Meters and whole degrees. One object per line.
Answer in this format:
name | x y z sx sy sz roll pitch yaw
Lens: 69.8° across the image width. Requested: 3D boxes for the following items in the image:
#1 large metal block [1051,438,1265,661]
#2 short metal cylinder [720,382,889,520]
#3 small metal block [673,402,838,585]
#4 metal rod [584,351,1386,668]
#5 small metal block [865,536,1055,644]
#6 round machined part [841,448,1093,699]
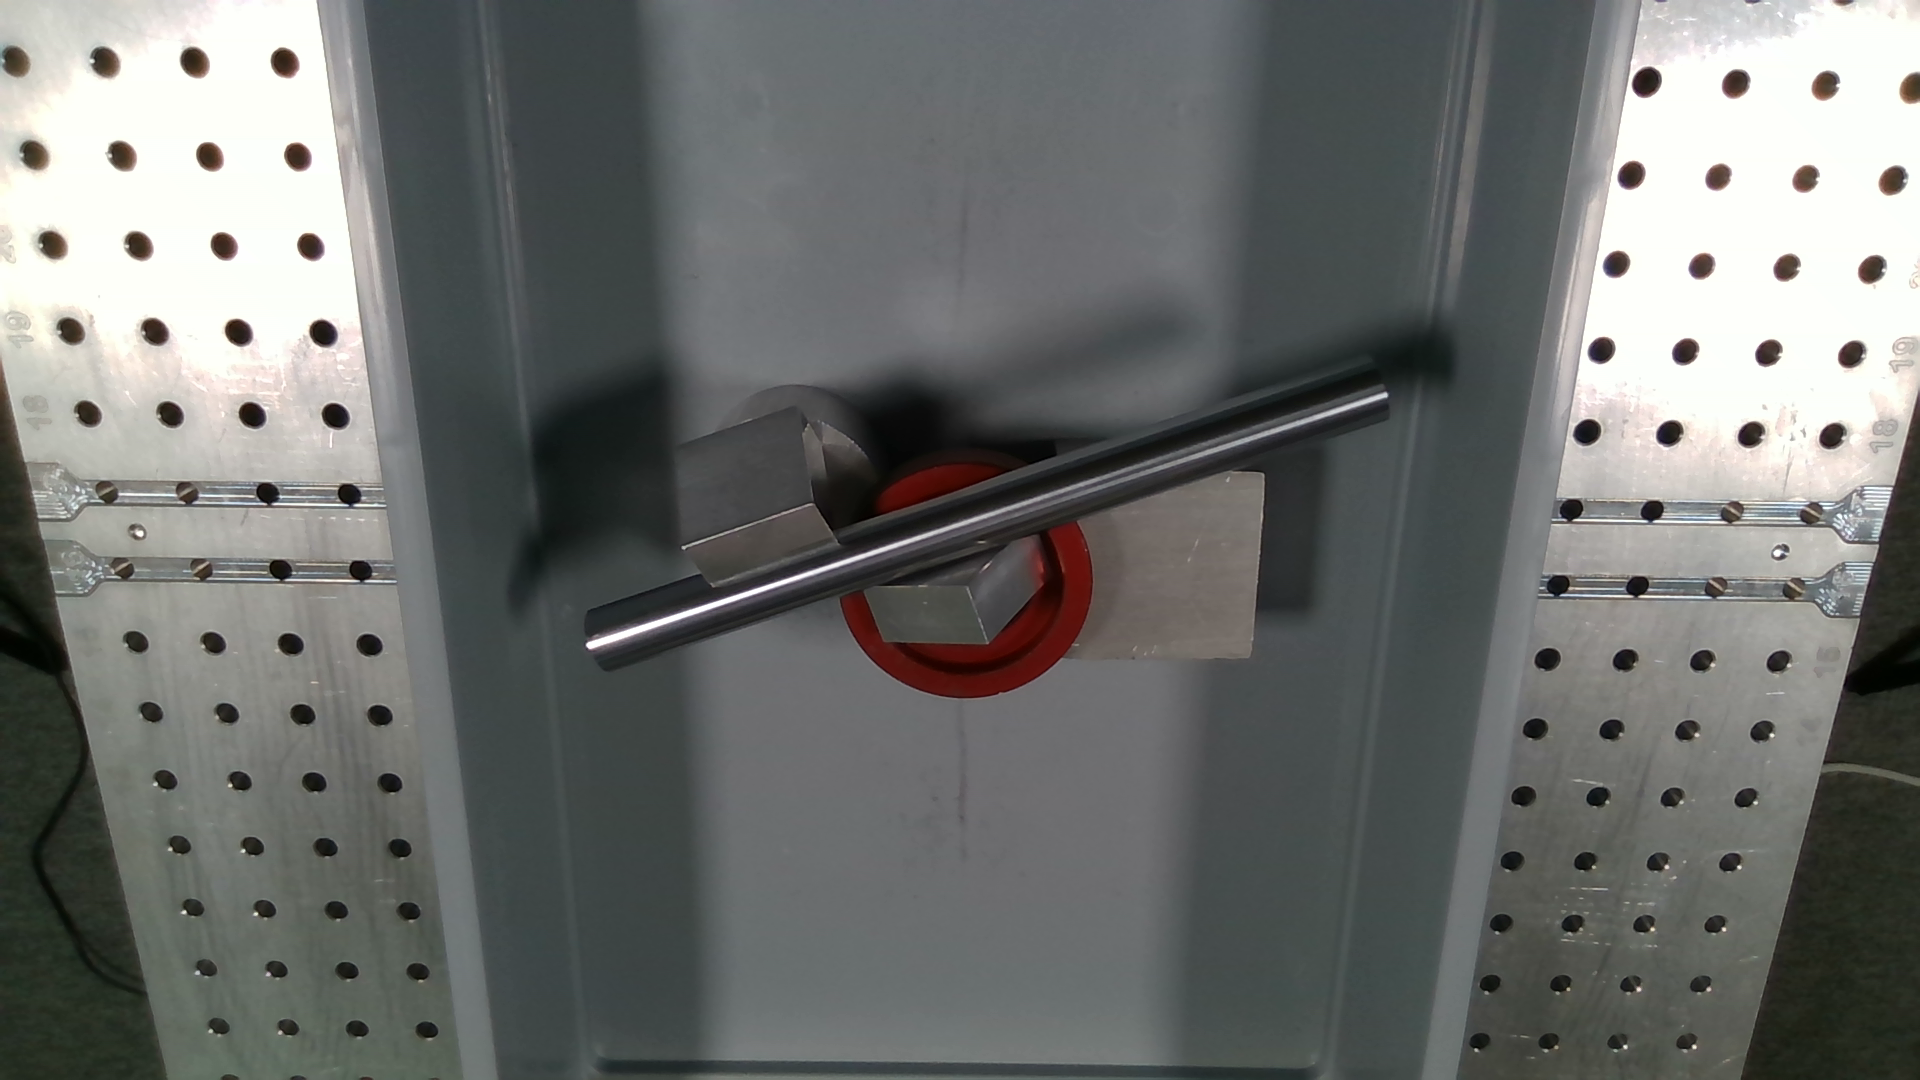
large metal block | 0.078 0.003 0.570 0.080 0.050 0.080 0 110 0
short metal cylinder | -0.069 -0.020 0.564 0.080 0.050 0.080 0 110 0
small metal block | -0.076 -0.017 0.508 0.050 0.050 0.025 -18 142 6
metal rod | 0.005 -0.009 0.506 0.300 0.025 0.025 -18 109 7
small metal block | 0.000 0.015 0.524 0.050 0.050 0.025 -2 119 38
round machined part | 0.002 0.010 0.547 0.098 0.042 0.098 0 110 0
